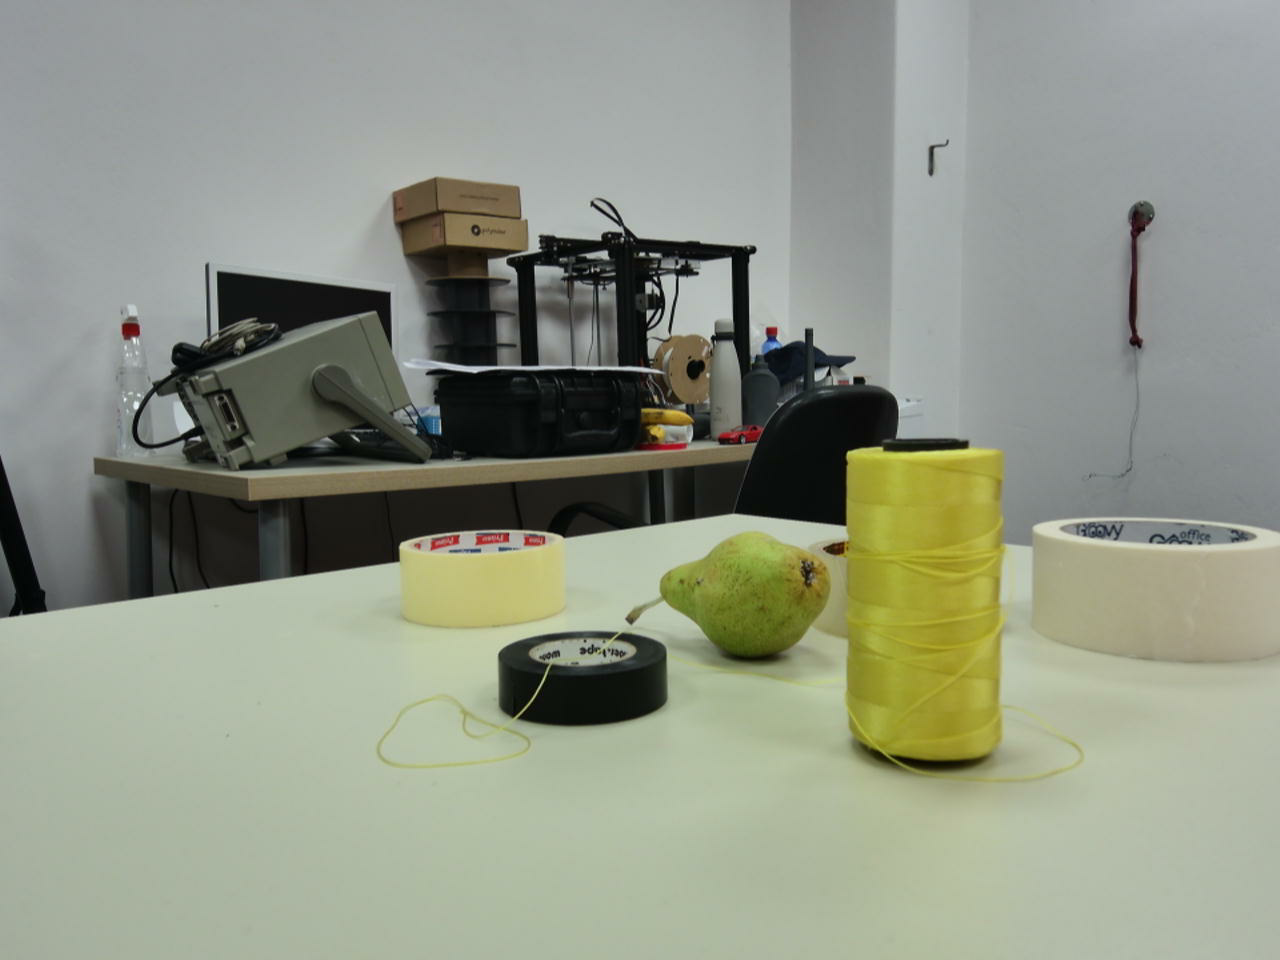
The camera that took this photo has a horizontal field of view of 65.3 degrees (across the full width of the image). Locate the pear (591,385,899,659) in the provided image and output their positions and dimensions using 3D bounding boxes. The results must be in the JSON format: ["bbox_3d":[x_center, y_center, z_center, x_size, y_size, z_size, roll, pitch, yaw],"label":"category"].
[{"bbox_3d":[0.042,0.052,0.475,0.056,0.056,0.111,0,3,-25],"label":"pear"}]
